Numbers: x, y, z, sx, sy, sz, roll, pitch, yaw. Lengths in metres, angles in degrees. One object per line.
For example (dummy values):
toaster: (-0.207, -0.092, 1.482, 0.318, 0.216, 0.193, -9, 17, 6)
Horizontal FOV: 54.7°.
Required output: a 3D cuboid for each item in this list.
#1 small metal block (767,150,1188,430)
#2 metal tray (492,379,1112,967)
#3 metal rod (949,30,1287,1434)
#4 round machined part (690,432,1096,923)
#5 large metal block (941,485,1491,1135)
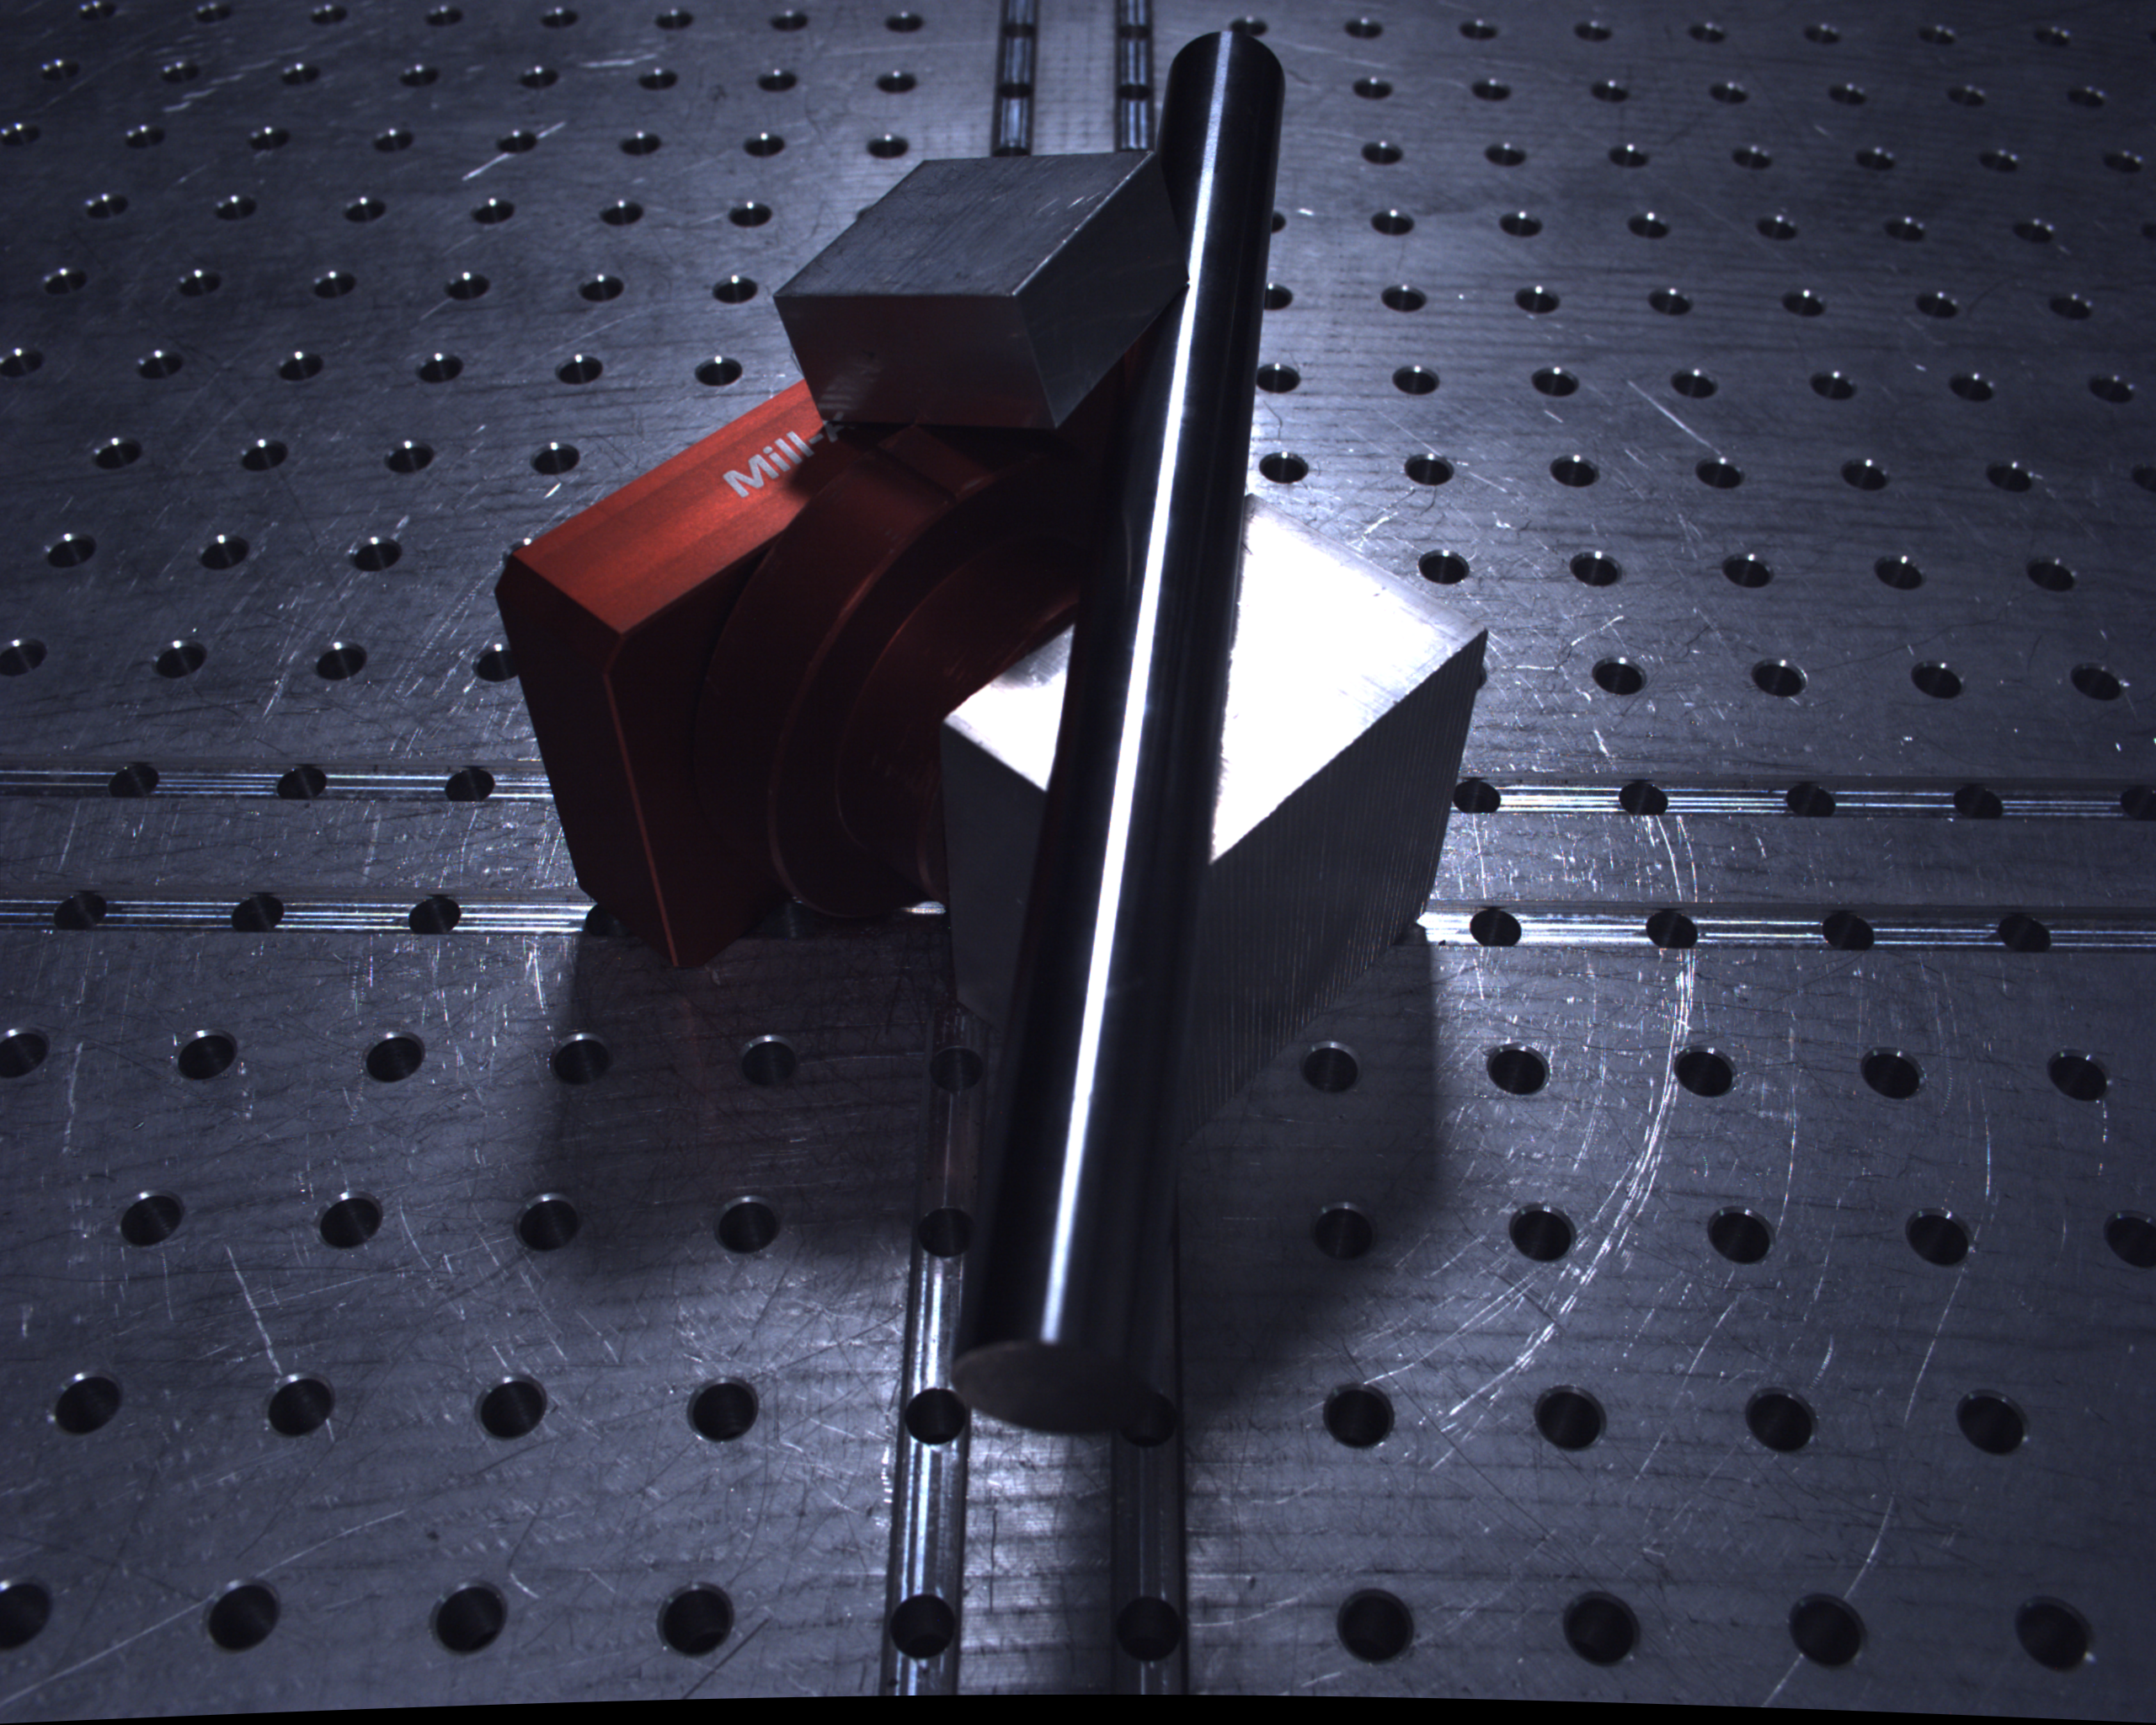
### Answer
small metal block: (-0.017, -0.100, 0.365, 0.050, 0.025, 0.050, 9, 46, 31)
metal tray: (-0.044, -0.049, 0.406, 0.030, 0.089, 0.131, 36, 58, 26)
metal rod: (0.014, -0.051, 0.346, 0.025, 0.025, 0.300, 5, 50, 4)
round machined part: (-0.021, -0.029, 0.390, 0.042, 0.097, 0.099, 35, 58, 25)
large metal block: (0.024, -0.007, 0.374, 0.050, 0.080, 0.080, 35, 58, 25)
